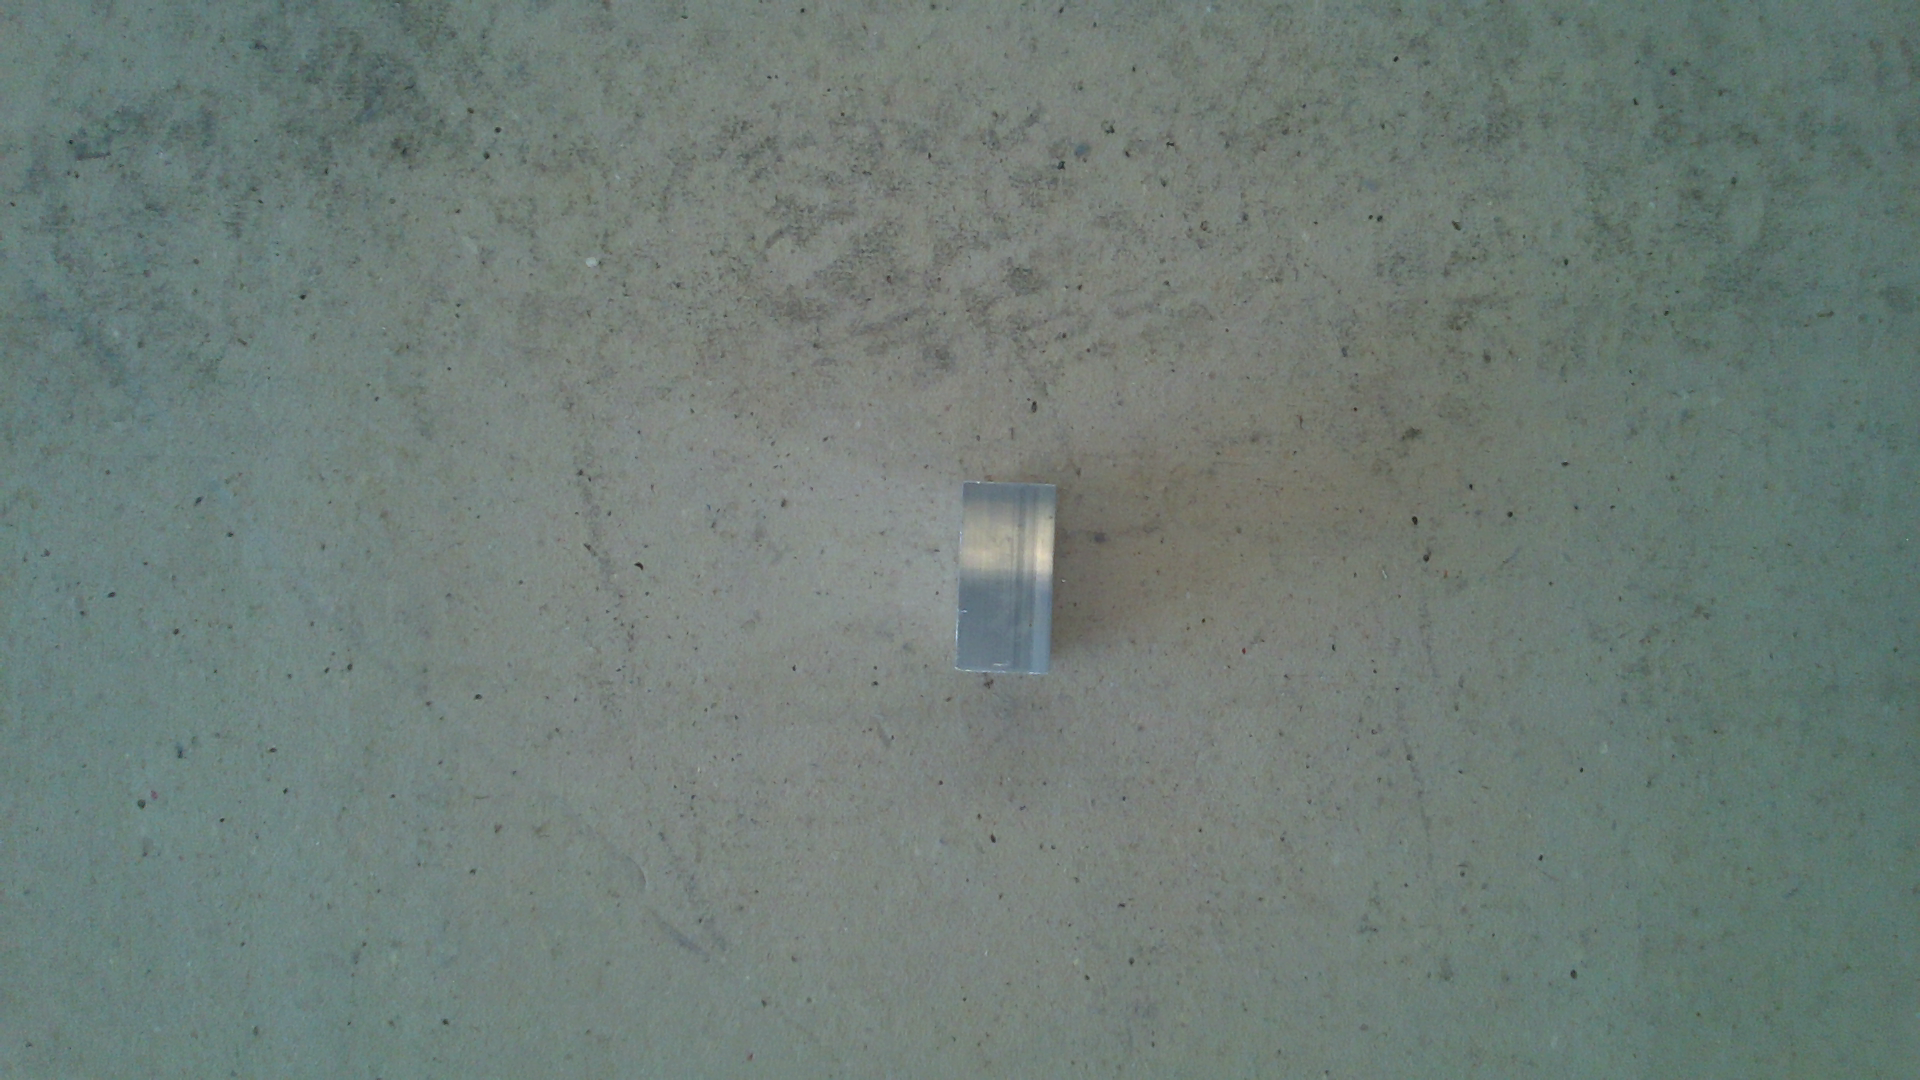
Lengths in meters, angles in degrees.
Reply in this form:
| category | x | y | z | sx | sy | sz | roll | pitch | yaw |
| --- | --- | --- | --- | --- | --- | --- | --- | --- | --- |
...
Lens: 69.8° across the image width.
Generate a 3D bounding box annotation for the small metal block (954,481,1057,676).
| category | x | y | z | sx | sy | sz | roll | pitch | yaw |
| --- | --- | --- | --- | --- | --- | --- | --- | --- | --- |
| small metal block | 0.012 | 0.010 | 0.383 | 0.025 | 0.050 | 0.050 | 2 | 90 | -1 |
